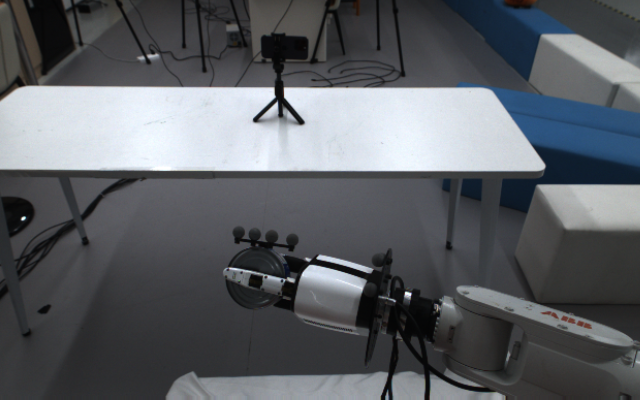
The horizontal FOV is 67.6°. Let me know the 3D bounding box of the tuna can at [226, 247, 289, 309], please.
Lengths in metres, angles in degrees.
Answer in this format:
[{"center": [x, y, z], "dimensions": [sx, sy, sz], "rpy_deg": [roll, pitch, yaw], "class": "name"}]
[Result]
[{"center": [-0.084, 0.107, 0.671], "dimensions": [0.085, 0.085, 0.034], "rpy_deg": [11, -7, 13], "class": "tuna can"}]
